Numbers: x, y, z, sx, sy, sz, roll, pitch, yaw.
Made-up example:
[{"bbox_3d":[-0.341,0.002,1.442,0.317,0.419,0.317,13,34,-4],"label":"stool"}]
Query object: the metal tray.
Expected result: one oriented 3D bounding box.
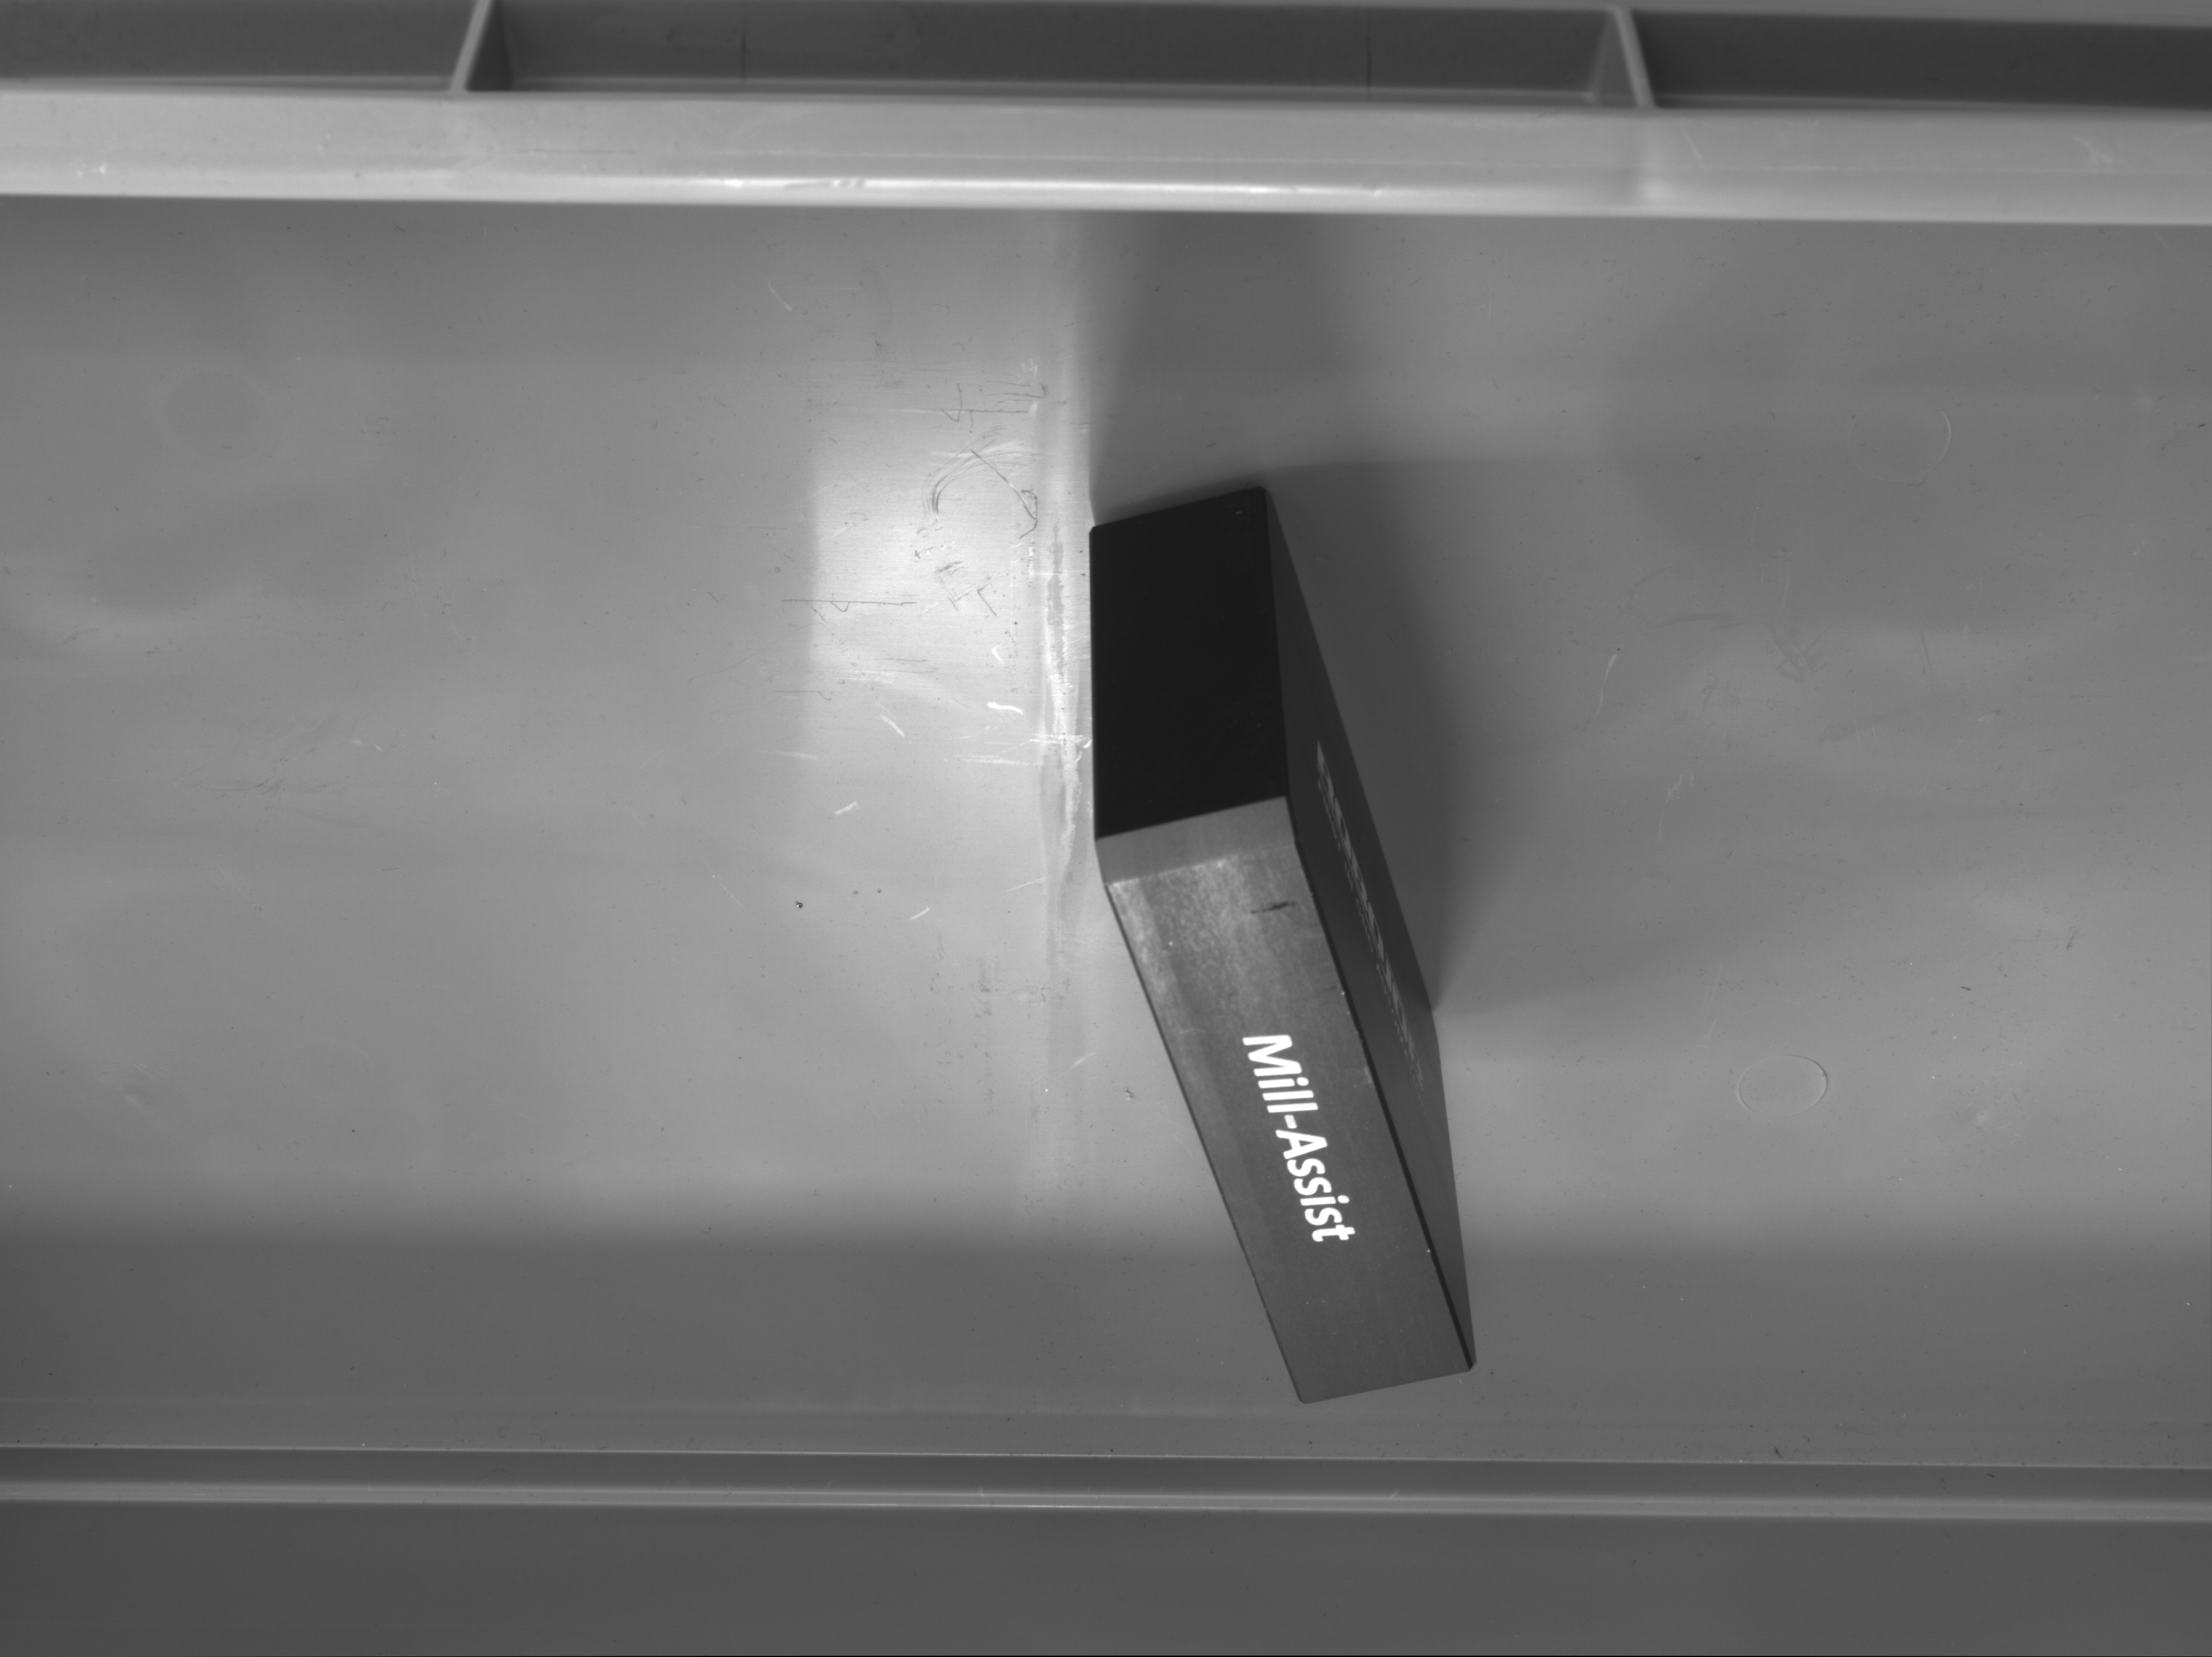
[{"bbox_3d":[0.030,0.021,0.612,0.030,0.090,0.130,-13,129,10],"label":"metal tray"}]
